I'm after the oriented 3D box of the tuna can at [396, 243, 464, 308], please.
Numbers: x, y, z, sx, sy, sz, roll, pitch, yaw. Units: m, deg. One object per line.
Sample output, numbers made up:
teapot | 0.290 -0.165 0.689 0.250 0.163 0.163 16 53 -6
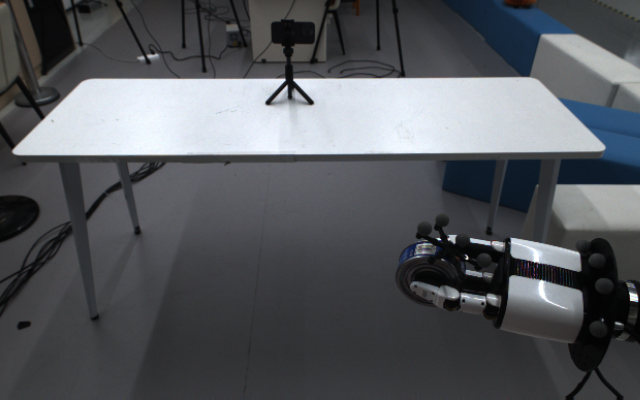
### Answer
tuna can | 0.144 0.101 0.613 0.085 0.085 0.034 12 35 14
